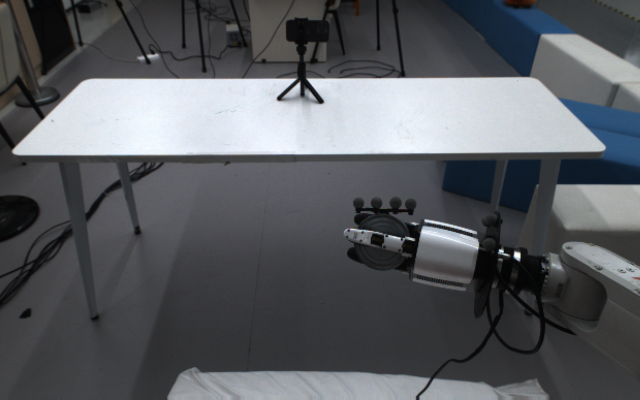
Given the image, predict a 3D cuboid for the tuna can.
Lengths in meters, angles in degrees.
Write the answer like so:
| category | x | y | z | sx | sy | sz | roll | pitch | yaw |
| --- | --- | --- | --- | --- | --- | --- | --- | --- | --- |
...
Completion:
| category | x | y | z | sx | sy | sz | roll | pitch | yaw |
| --- | --- | --- | --- | --- | --- | --- | --- | --- | --- |
| tuna can | 0.098 | 0.067 | 0.731 | 0.085 | 0.085 | 0.034 | 13 | -3 | 16 |
